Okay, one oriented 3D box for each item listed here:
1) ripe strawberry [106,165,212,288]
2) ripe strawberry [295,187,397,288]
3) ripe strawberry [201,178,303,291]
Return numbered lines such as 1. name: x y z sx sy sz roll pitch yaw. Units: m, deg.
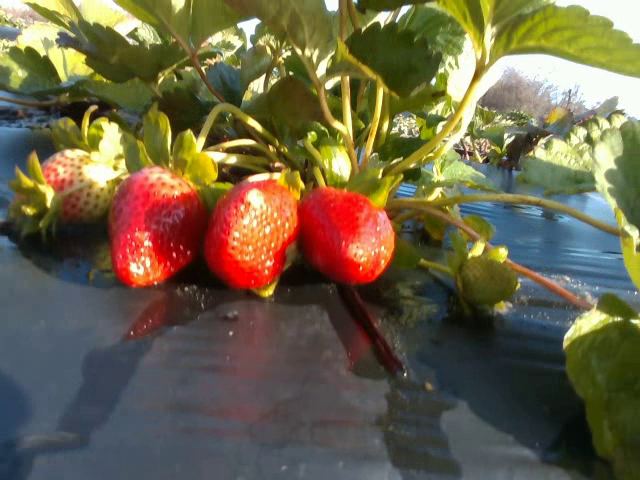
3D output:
1. ripe strawberry: -0.049 -0.005 0.168 0.031 0.023 0.046 8 41 -2
2. ripe strawberry: 0.008 0.001 0.168 0.035 0.034 0.041 5 5 -4
3. ripe strawberry: -0.020 -0.005 0.163 0.030 0.037 0.039 16 -9 4
